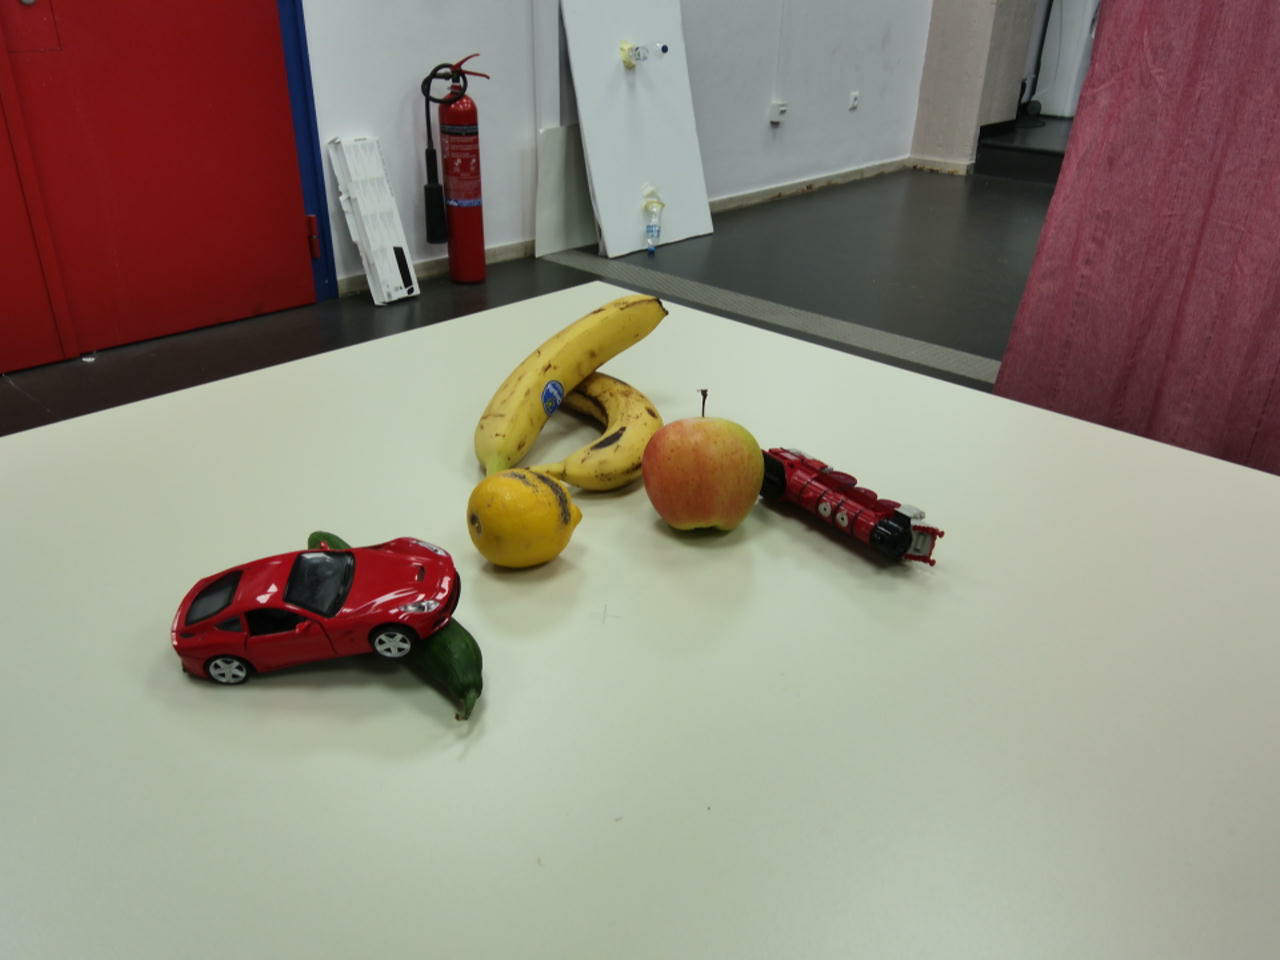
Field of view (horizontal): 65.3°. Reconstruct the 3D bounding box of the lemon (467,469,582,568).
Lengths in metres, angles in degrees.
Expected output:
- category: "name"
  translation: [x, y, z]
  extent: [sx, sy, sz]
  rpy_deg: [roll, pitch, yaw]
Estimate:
- category: "lemon"
  translation: [-0.068, 0.021, 0.570]
  extent: [0.058, 0.056, 0.061]
  rpy_deg: [17, 30, 30]
